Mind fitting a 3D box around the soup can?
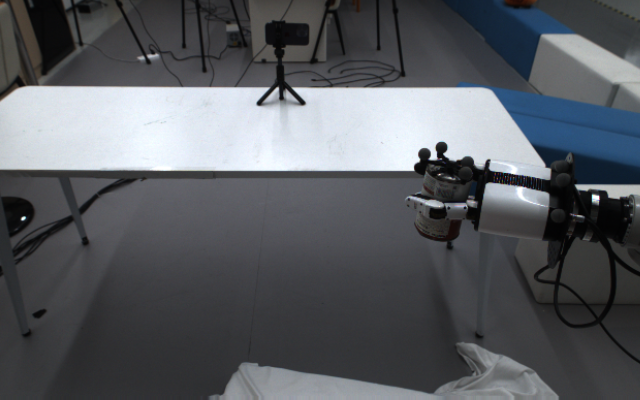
[{"bbox_3d":[0.181,0.000,0.709,0.067,0.101,0.067,4,30,-2],"label":"soup can"}]
